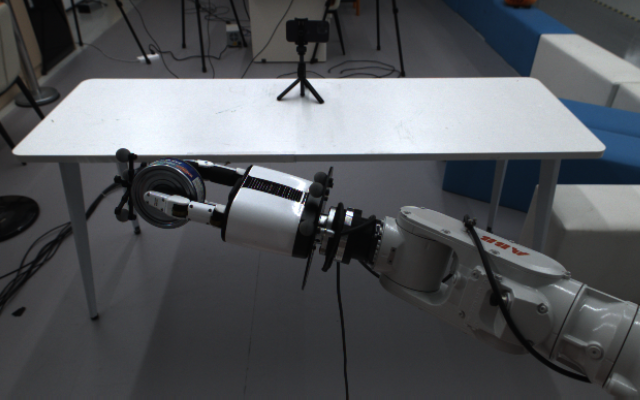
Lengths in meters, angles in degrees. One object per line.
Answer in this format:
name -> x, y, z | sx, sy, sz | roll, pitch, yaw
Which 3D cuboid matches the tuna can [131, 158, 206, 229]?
tuna can -> -0.187, -0.004, 0.601 | 0.085, 0.085, 0.034 | 4, 19, 3
